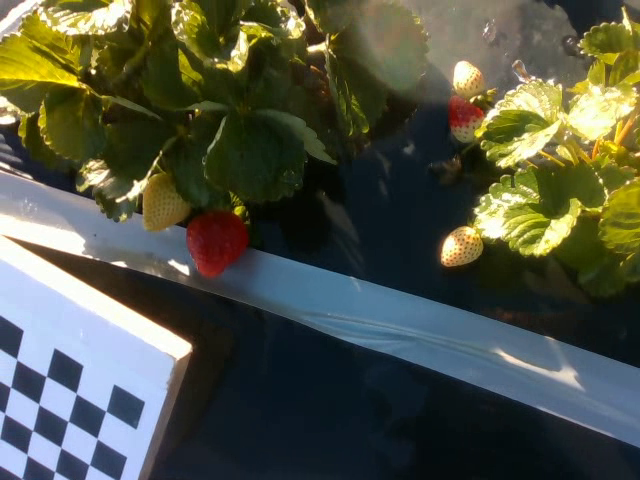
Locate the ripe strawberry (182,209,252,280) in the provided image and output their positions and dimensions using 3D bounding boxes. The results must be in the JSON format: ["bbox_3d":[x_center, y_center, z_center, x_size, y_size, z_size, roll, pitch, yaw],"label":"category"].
[{"bbox_3d":[-0.072,0.002,0.394,0.049,0.063,0.045,37,-61,-25],"label":"ripe strawberry"}]
